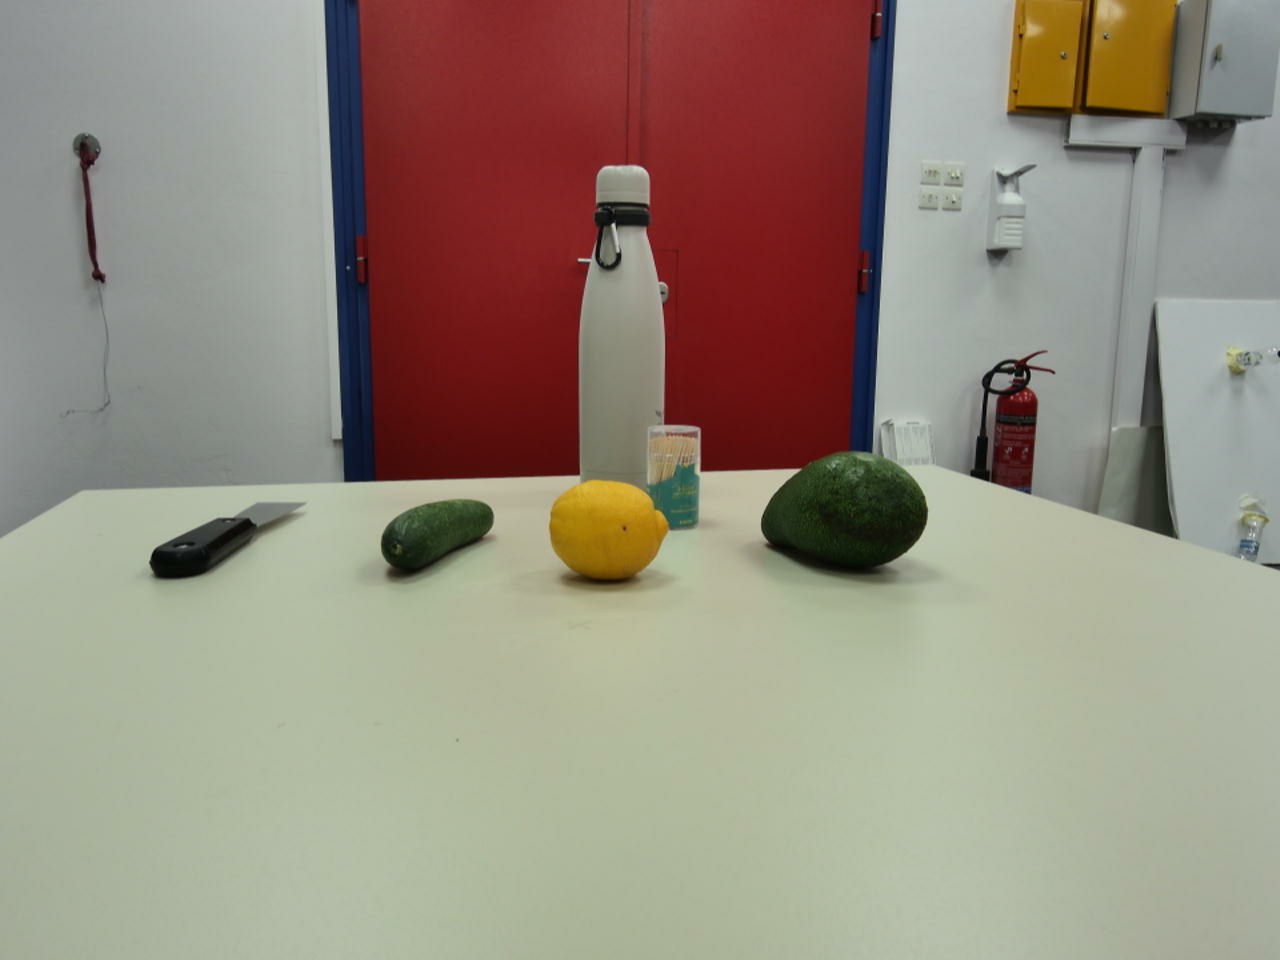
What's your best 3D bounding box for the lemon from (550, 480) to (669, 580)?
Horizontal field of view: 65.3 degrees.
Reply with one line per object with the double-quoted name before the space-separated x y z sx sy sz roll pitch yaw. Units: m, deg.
"lemon" -0.020 0.031 0.600 0.067 0.059 0.060 5 9 29
